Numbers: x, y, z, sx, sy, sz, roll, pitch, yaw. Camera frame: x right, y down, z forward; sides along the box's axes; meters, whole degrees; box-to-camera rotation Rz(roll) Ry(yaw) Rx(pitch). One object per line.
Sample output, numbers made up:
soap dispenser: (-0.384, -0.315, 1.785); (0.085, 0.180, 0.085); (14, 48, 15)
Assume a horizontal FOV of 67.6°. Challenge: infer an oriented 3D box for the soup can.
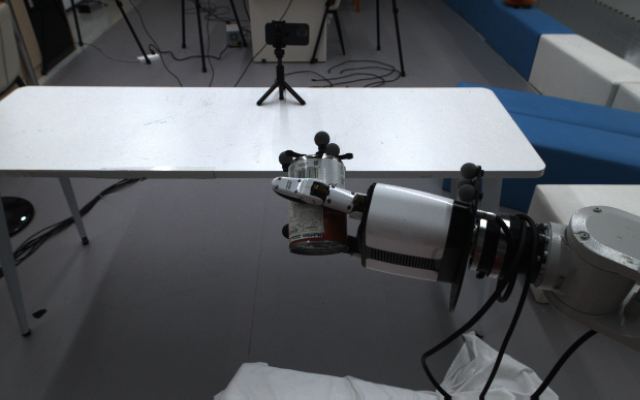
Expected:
soup can: (0.000, 0.006, 0.553); (0.067, 0.067, 0.101); (-2, 71, -5)
